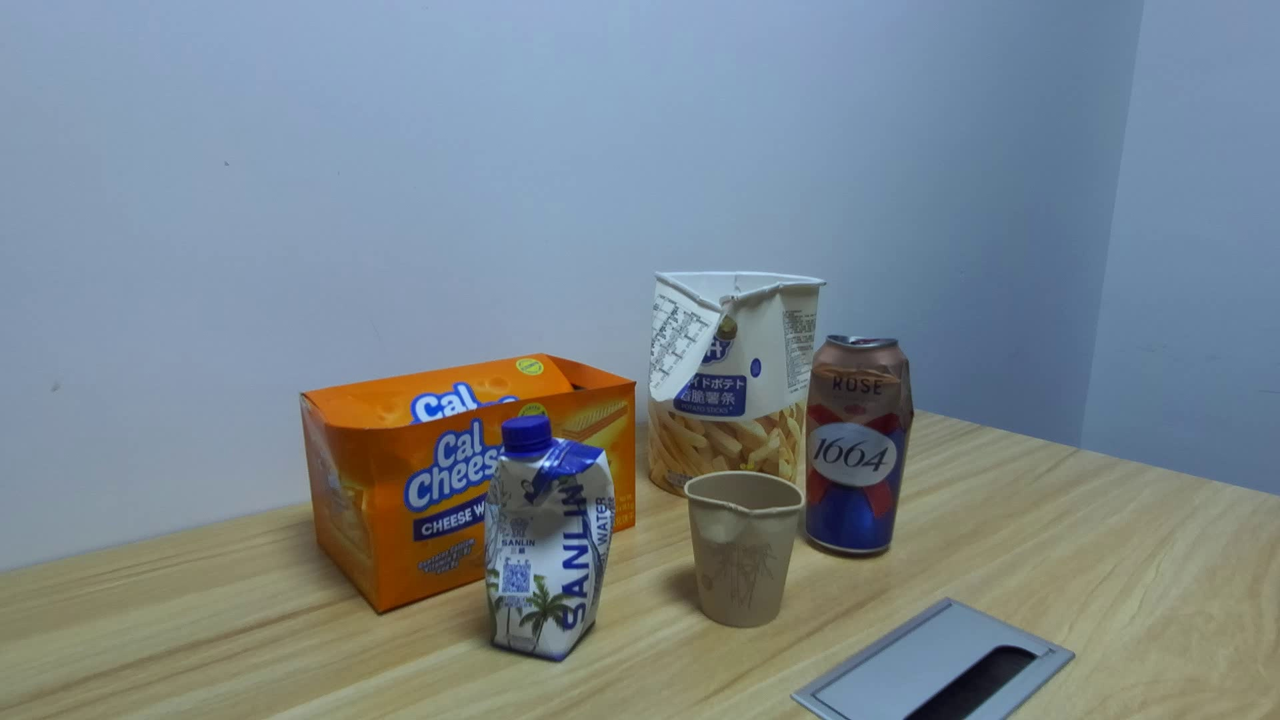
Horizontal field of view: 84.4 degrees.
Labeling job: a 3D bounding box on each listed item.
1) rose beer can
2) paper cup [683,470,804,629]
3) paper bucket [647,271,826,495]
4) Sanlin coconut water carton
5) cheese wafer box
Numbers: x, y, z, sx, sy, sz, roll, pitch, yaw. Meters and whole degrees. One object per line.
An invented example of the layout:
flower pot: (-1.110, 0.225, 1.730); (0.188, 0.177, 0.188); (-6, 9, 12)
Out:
rose beer can: (0.168, 0.064, 0.548); (0.075, 0.167, 0.065); (8, 13, 39)
paper cup: (0.066, 0.123, 0.463); (0.074, 0.081, 0.068); (-4, 13, -20)
paper bucket: (0.076, 0.018, 0.690); (0.162, 0.202, 0.170); (9, 13, 42)
Sanlin coconut water carton: (-0.055, 0.107, 0.420); (0.068, 0.144, 0.057); (12, 23, 20)
cheese wafer box: (-0.132, 0.083, 0.564); (0.231, 0.132, 0.151); (-9, 16, -38)
